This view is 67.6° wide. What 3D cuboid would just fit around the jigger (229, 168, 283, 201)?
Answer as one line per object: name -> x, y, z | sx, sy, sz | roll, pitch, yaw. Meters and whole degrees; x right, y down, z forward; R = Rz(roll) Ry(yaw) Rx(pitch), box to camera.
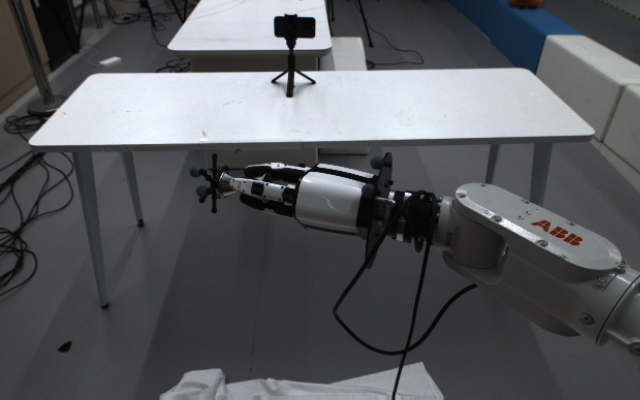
jigger -> -0.100, -0.025, 0.705 | 0.071, 0.043, 0.043 | 4, 34, 16
